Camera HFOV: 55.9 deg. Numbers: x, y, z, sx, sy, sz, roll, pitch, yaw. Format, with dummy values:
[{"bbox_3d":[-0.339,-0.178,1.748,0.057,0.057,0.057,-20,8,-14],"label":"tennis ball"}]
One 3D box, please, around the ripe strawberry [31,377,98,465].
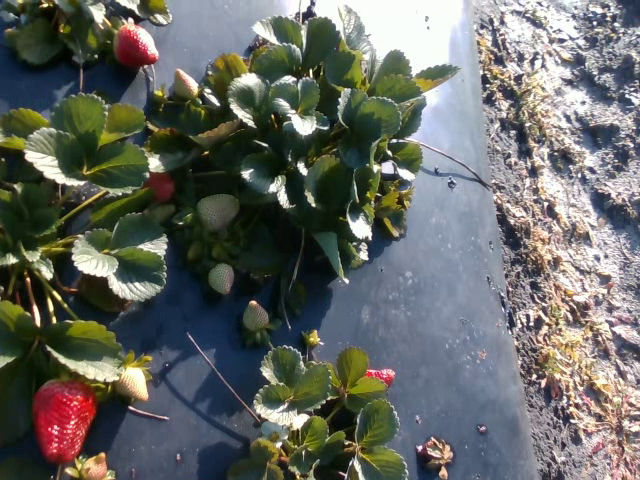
[{"bbox_3d":[-0.198,0.139,0.459,0.056,0.072,0.055,-27,-35,13],"label":"ripe strawberry"}]
